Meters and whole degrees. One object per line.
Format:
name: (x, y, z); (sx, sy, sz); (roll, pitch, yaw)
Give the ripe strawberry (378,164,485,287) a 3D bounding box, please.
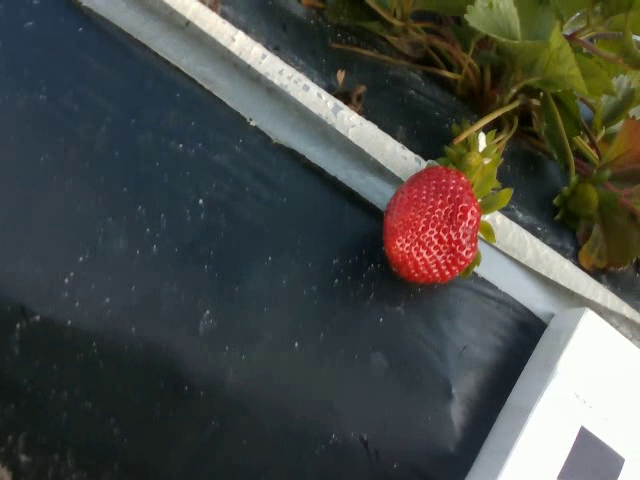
ripe strawberry: (0.038, -0.003, 0.173); (0.052, 0.048, 0.030); (-10, -6, -40)
